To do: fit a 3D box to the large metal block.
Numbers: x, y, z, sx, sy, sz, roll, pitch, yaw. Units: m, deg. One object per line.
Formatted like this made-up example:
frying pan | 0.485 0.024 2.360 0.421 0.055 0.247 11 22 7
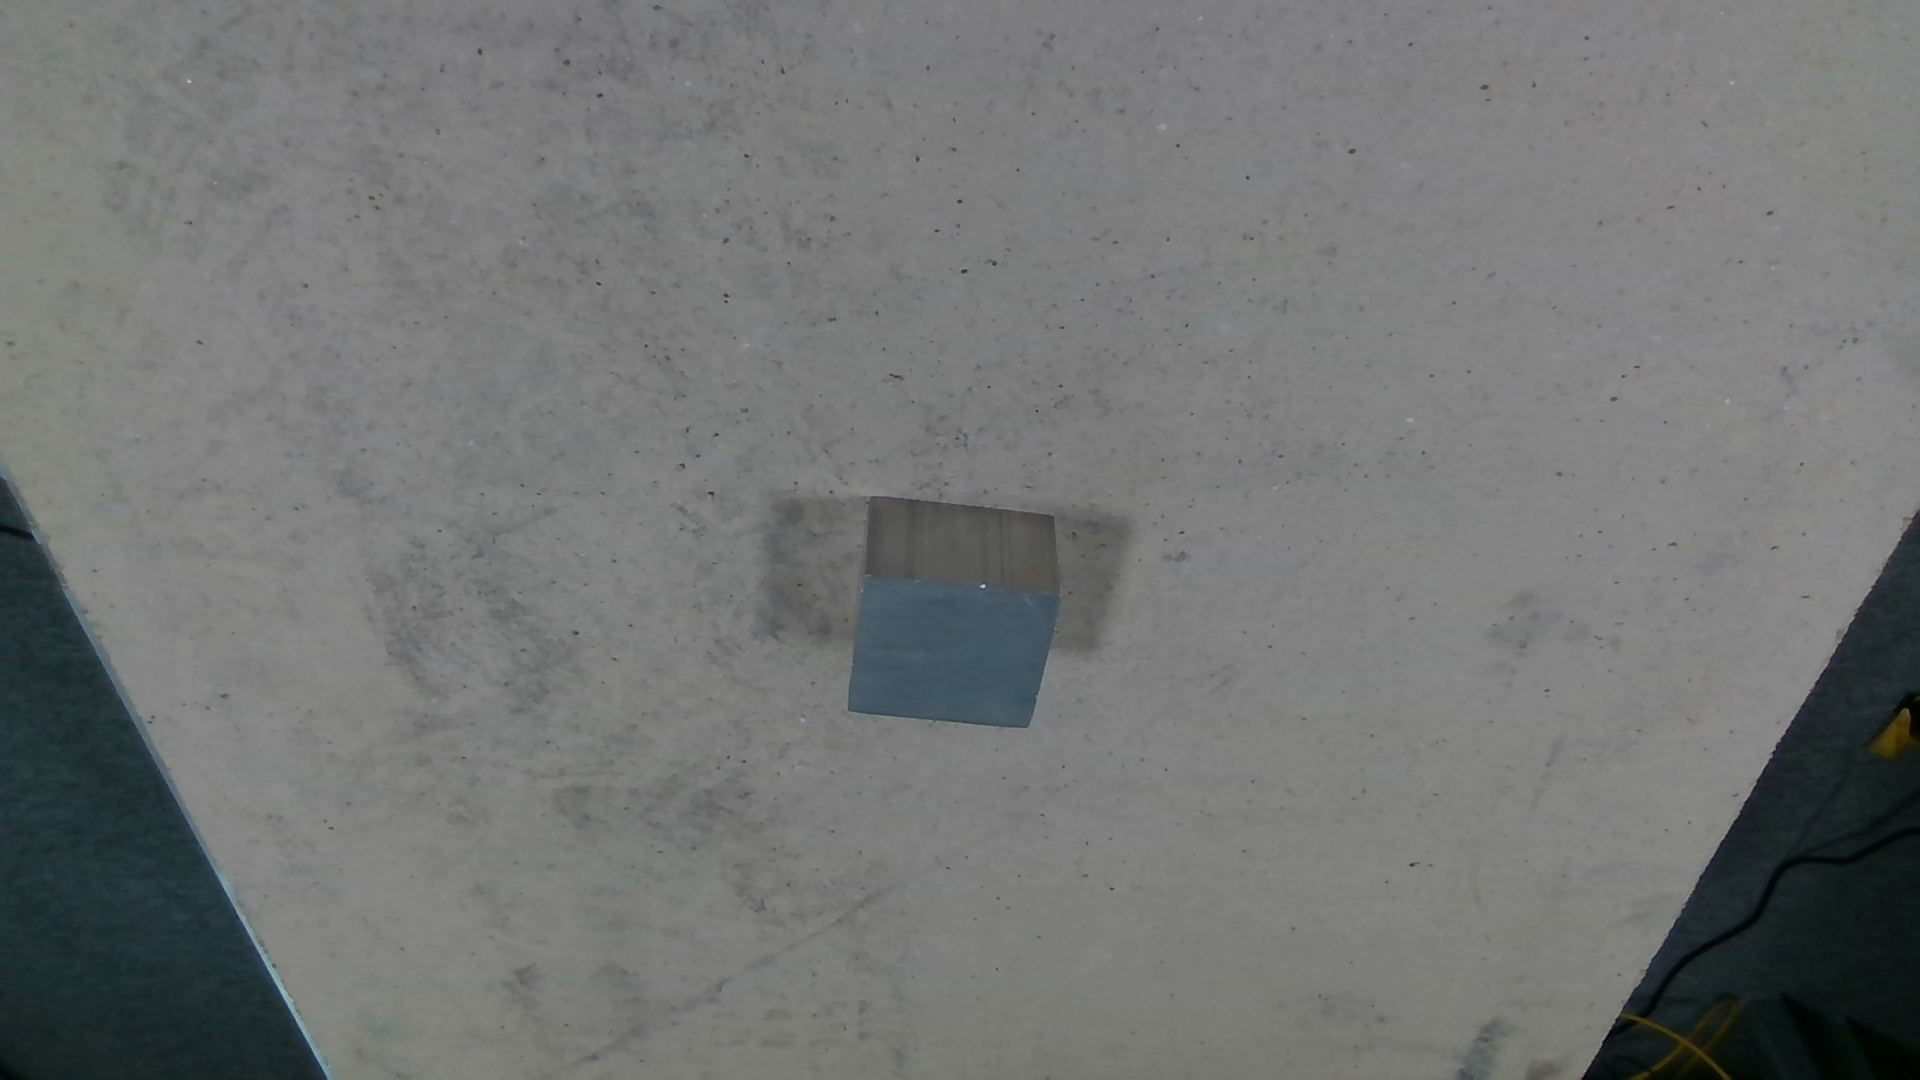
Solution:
large metal block | -0.004 0.031 0.590 0.080 0.050 0.080 6 130 -5
